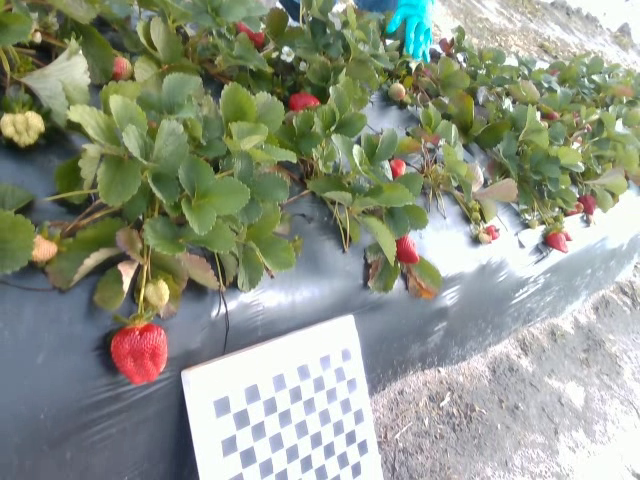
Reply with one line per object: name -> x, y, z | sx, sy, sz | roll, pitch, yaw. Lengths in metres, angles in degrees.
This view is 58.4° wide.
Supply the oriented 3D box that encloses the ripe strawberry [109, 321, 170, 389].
ripe strawberry -> -0.205, 0.129, 0.648 | 0.067, 0.075, 0.039 | -5, -6, -43
